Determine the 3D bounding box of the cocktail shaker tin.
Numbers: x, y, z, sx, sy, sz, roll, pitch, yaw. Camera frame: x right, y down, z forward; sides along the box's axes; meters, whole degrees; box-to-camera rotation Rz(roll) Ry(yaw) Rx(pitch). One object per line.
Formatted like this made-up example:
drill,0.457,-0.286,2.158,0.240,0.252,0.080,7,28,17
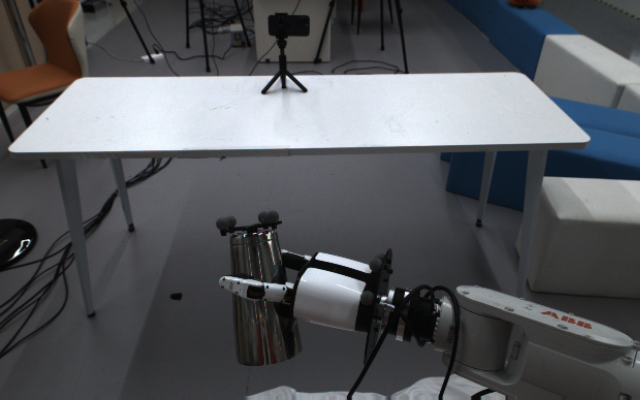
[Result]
cocktail shaker tin,-0.081,0.130,0.670,0.093,0.170,0.093,-8,1,0
